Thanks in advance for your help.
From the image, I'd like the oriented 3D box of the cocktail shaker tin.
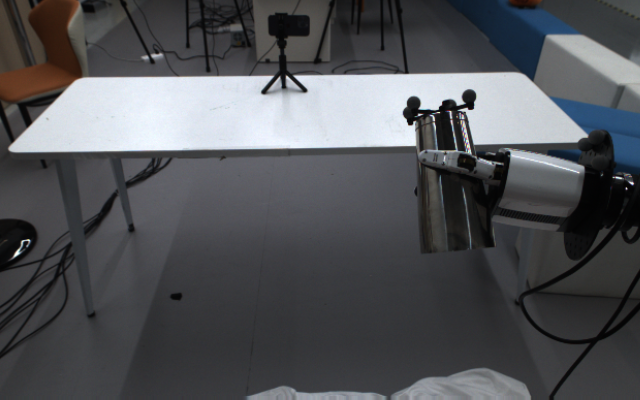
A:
[{"bbox_3d":[0.165,-0.021,0.614,0.093,0.170,0.093,-6,-7,-1],"label":"cocktail shaker tin"}]
